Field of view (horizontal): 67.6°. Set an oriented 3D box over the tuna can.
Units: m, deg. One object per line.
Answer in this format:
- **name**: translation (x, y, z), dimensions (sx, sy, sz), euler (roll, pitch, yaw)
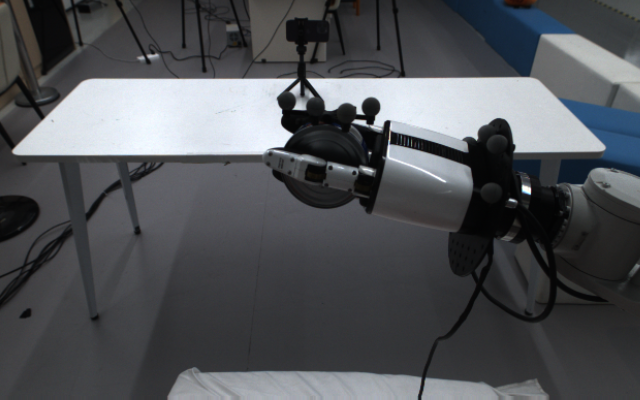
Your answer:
- **tuna can**: translation (0.009, -0.037, 0.481), dimensions (0.085, 0.085, 0.034), euler (6, 23, 6)
